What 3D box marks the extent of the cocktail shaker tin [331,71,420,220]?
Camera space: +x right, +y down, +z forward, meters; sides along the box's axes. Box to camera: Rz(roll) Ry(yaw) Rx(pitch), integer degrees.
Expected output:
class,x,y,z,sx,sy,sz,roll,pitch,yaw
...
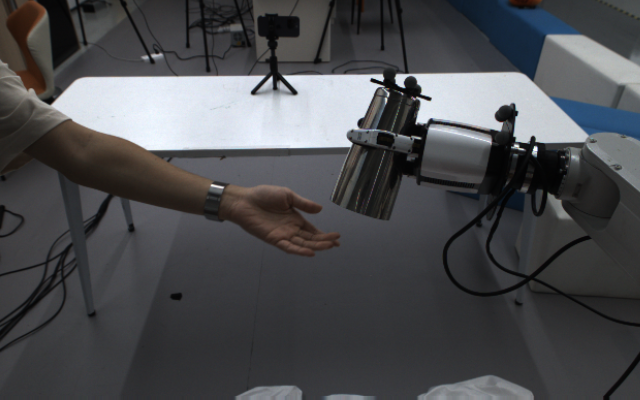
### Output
class,x,y,z,sx,sy,sz,roll,pitch,yaw
cocktail shaker tin,0.084,-0.067,0.687,0.093,0.170,0.093,18,7,-2
